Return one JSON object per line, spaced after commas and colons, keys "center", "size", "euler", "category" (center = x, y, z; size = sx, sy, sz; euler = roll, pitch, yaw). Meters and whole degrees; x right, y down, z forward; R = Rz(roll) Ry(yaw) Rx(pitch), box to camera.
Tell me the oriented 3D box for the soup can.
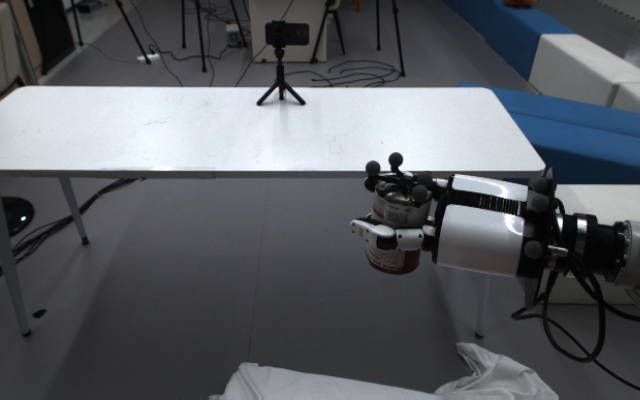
{"center": [0.095, 0.029, 0.581], "size": [0.067, 0.101, 0.067], "euler": [3, 30, -2], "category": "soup can"}
